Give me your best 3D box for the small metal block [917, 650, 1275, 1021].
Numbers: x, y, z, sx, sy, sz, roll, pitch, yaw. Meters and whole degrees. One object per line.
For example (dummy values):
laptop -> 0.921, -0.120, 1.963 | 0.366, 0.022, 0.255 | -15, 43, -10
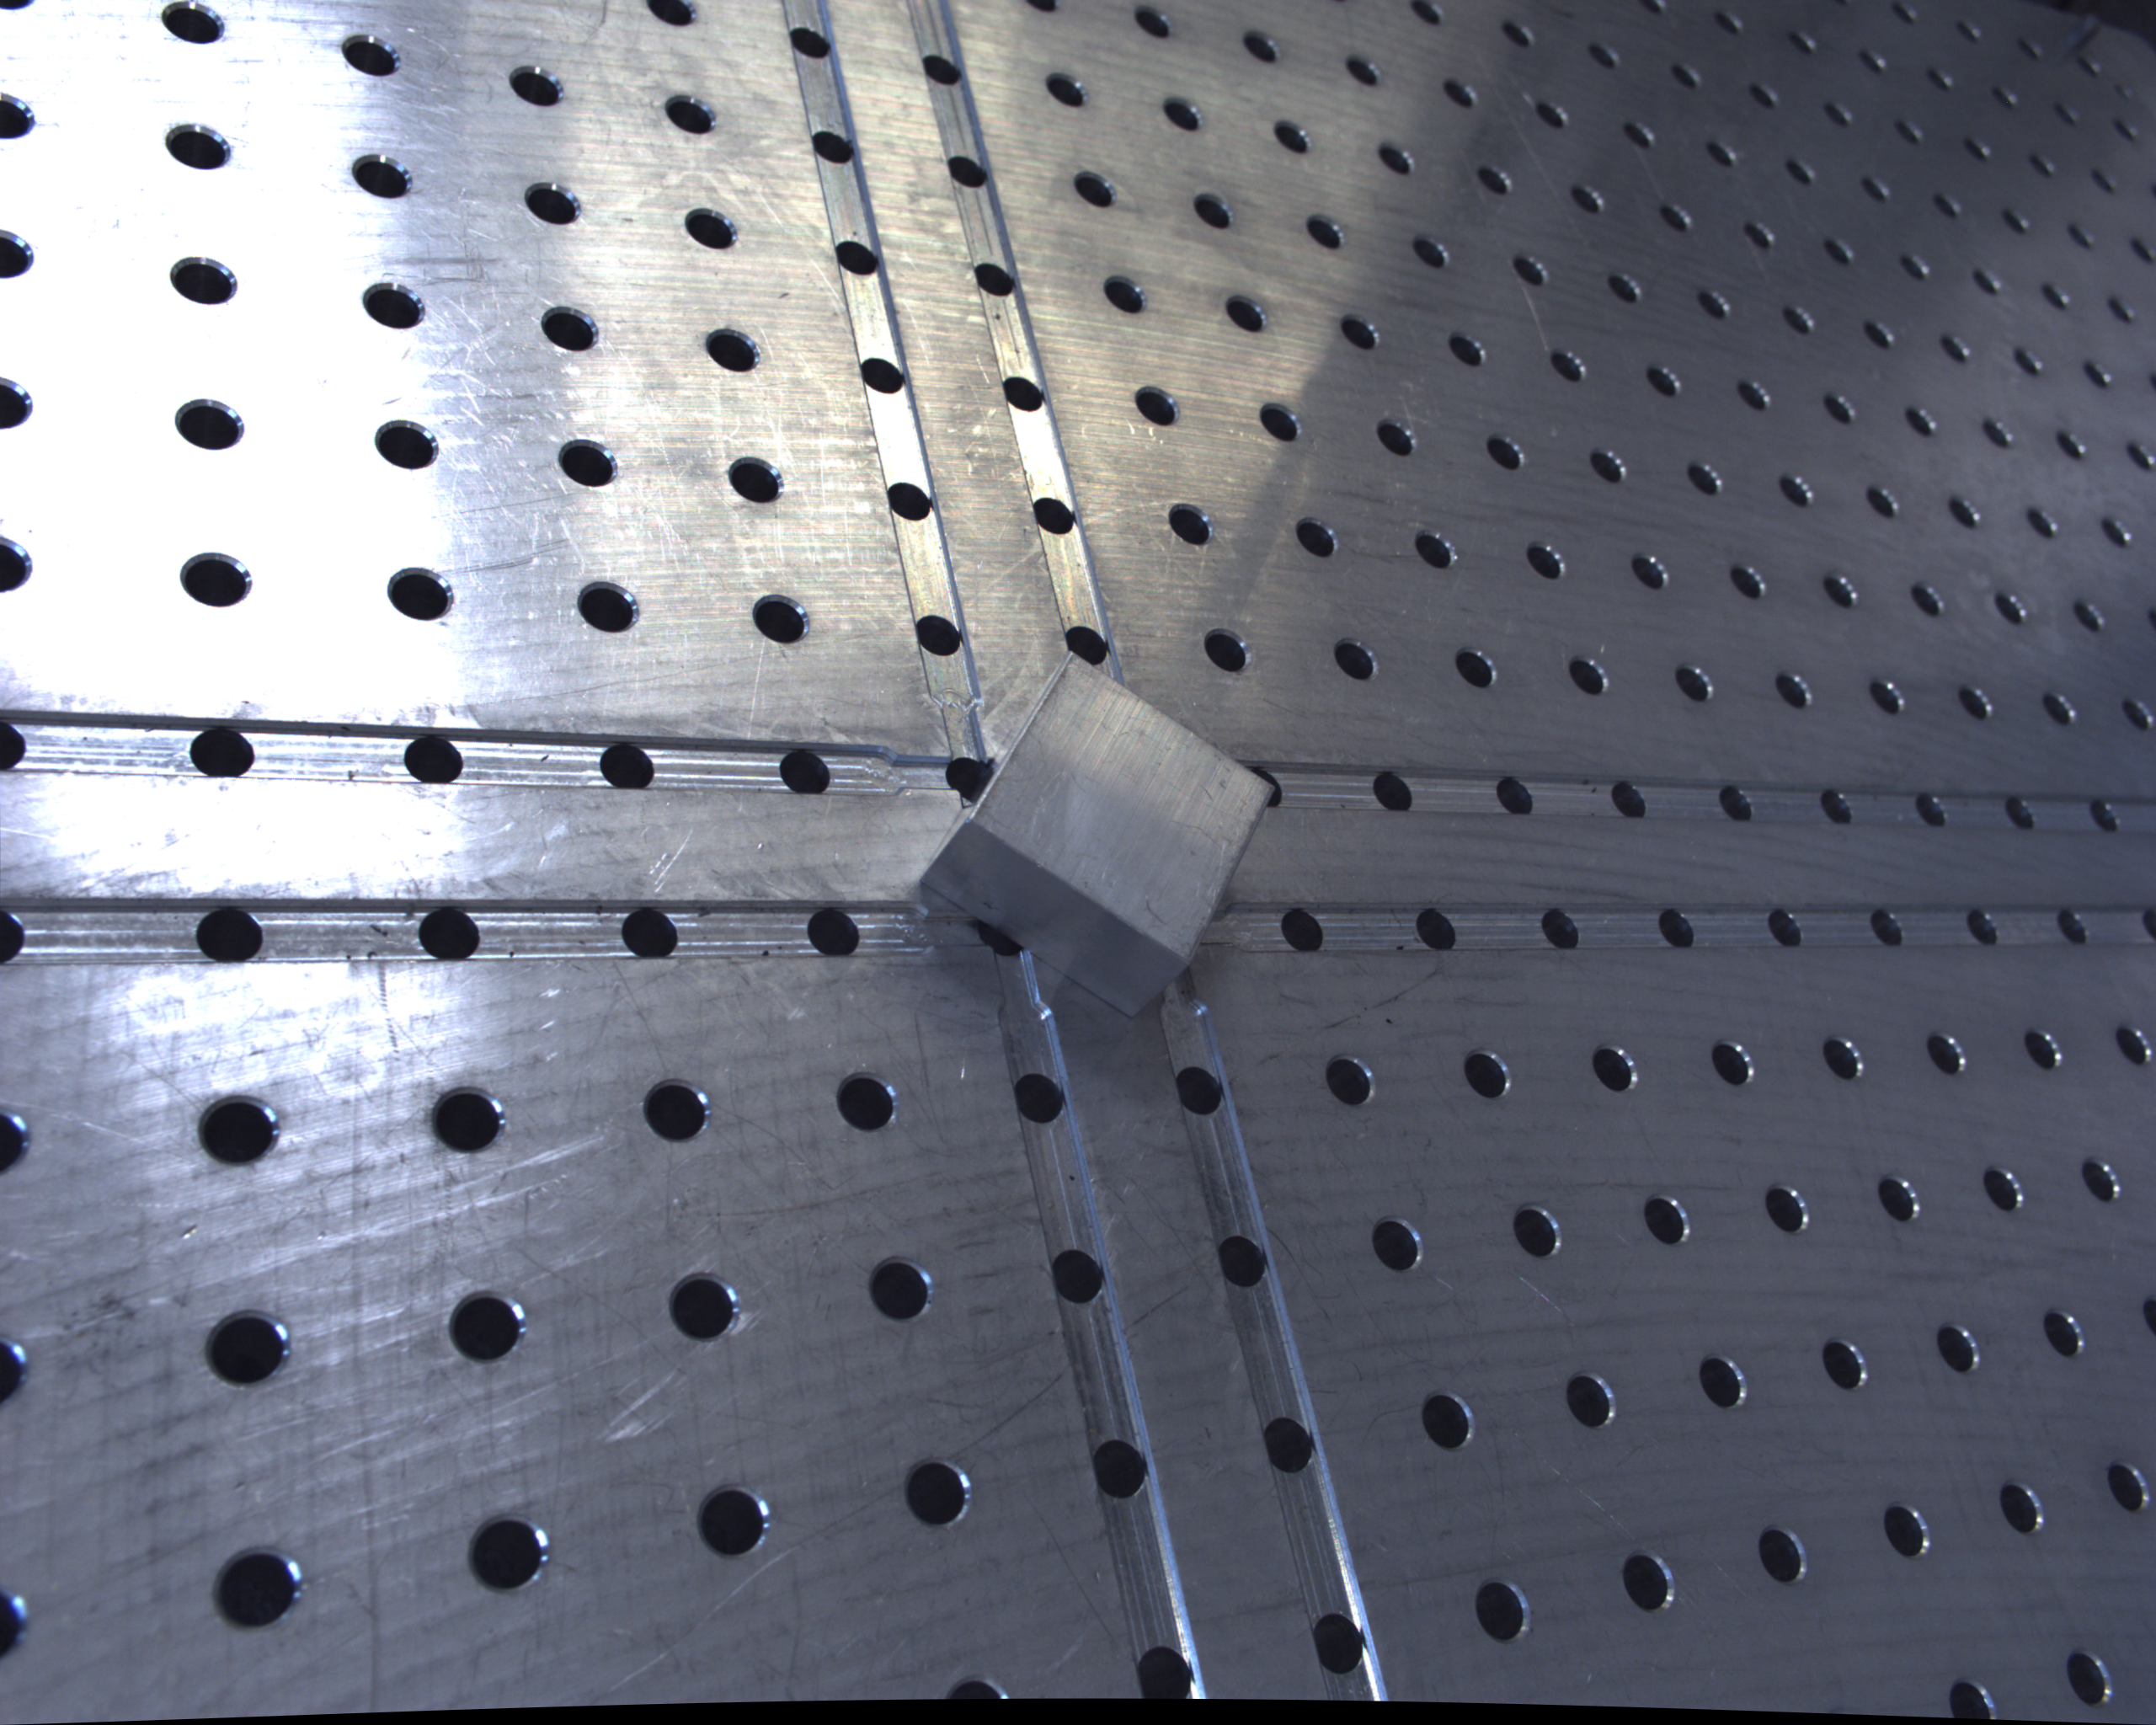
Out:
small metal block -> 0.004, -0.006, 0.413 | 0.050, 0.025, 0.050 | 34, 52, -7
